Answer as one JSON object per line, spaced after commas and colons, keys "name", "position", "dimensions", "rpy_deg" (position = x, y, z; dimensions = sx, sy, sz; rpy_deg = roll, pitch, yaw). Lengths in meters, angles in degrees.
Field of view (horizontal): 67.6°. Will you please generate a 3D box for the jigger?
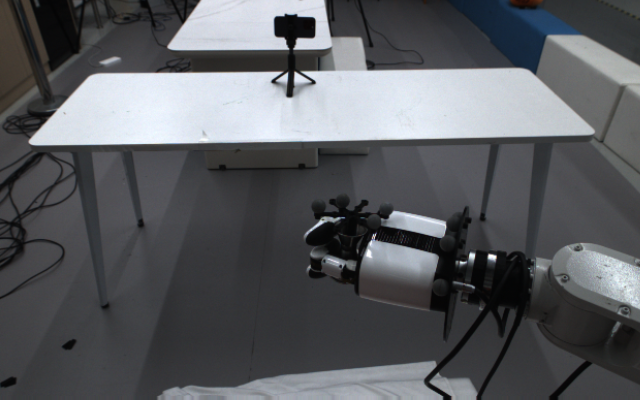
{"name": "jigger", "position": [0.039, 0.063, 0.602], "dimensions": [0.043, 0.071, 0.043], "rpy_deg": [3, 25, -1]}
